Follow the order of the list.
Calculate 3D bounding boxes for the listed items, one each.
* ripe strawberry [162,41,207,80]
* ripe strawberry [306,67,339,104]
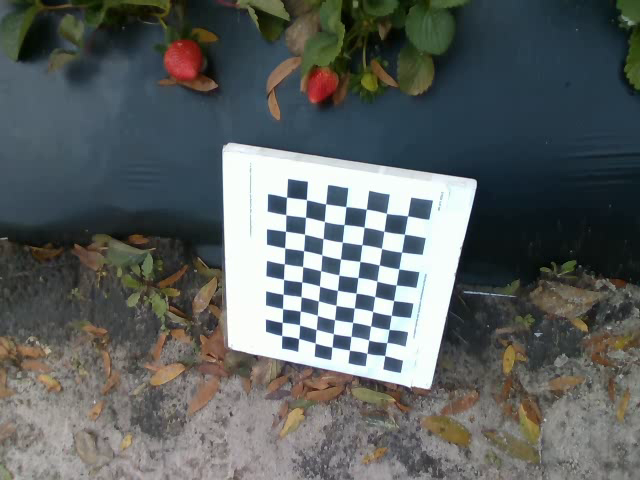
[{"bbox_3d":[-0.149,-0.191,0.647,0.042,0.047,0.065,-10,39,-25],"label":"ripe strawberry"},{"bbox_3d":[0.000,-0.161,0.627,0.040,0.042,0.037,18,-16,3],"label":"ripe strawberry"}]
